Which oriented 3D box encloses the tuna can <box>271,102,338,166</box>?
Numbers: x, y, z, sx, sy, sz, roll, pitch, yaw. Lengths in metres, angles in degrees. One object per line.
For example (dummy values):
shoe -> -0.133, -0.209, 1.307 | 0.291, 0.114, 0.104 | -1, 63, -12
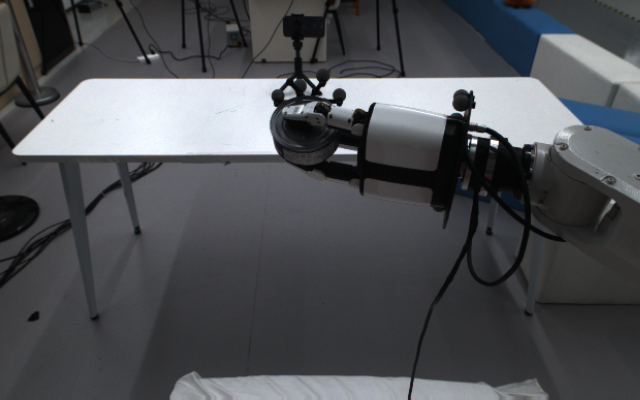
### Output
tuna can -> -0.015, -0.082, 0.592 | 0.085, 0.034, 0.085 | -1, 58, 2
